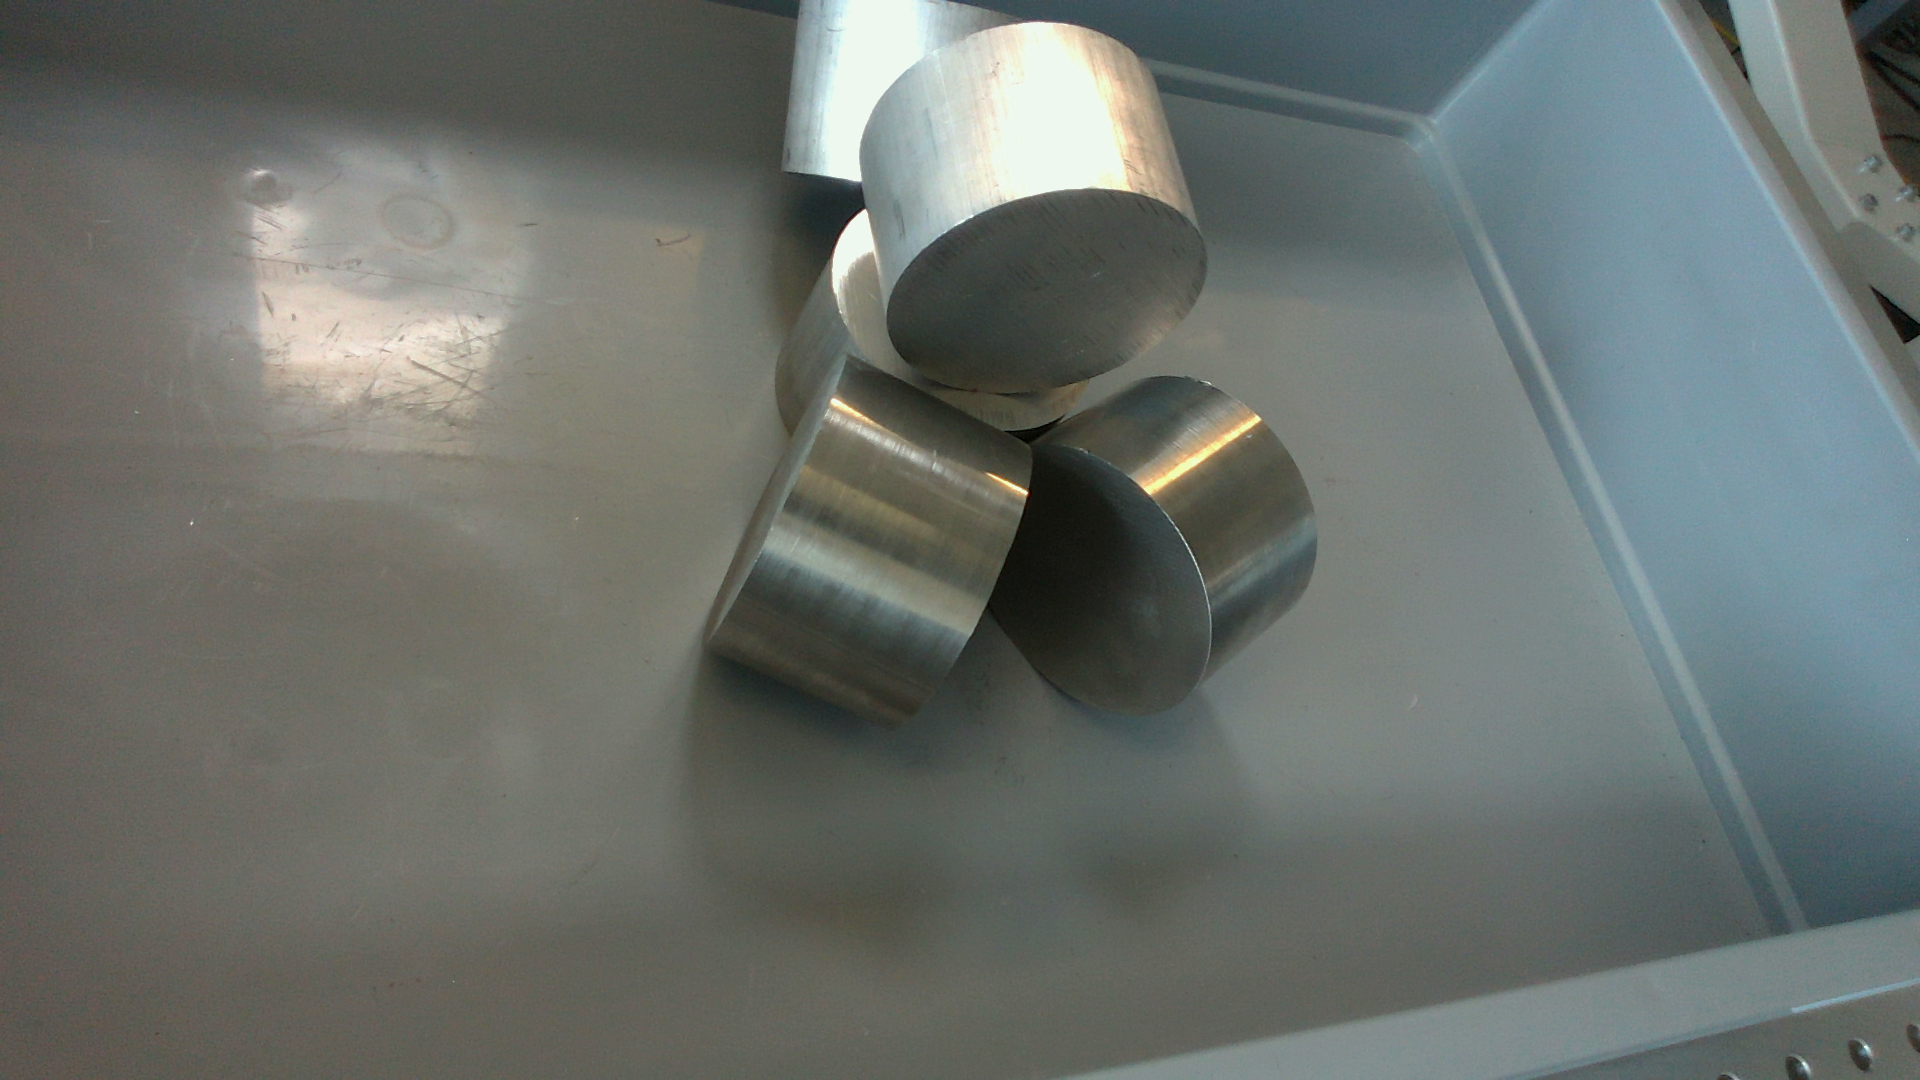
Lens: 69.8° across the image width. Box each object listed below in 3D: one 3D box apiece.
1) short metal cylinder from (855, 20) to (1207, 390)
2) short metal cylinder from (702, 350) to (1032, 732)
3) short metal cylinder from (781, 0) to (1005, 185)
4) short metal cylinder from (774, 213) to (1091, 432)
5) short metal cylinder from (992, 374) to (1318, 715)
[{"bbox_3d":[0.017,-0.081,0.347,0.080,0.080,0.050,3,60,-27],"label":"short metal cylinder"},{"bbox_3d":[-0.024,0.000,0.339,0.050,0.080,0.080,26,53,-12],"label":"short metal cylinder"},{"bbox_3d":[-0.012,-0.131,0.419,0.080,0.080,0.050,4,102,-26],"label":"short metal cylinder"},{"bbox_3d":[-0.008,-0.053,0.399,0.080,0.050,0.080,14,56,-21],"label":"short metal cylinder"},{"bbox_3d":[0.050,0.001,0.379,0.050,0.080,0.080,-32,80,-37],"label":"short metal cylinder"}]
